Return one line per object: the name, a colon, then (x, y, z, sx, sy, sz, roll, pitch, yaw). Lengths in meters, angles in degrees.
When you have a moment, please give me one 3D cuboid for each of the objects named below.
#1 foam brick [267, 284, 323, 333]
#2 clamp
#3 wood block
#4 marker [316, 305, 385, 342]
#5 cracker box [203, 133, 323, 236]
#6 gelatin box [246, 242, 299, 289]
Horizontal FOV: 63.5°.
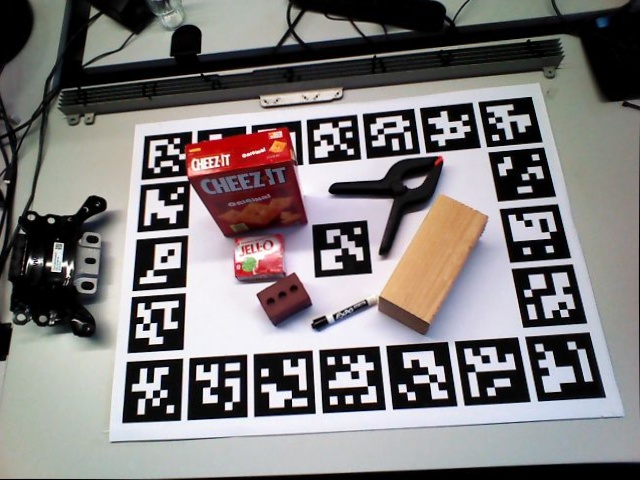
foam brick: (-0.042, 0.114, 0.869, 0.078, 0.051, 0.052, -28, 71, -4)
clamp: (0.164, -0.073, 0.921, 0.202, 0.037, 0.165, -33, 71, -5)
wood block: (0.206, 0.057, 0.845, 0.090, 0.091, 0.205, 29, 73, 18)
marker: (0.050, 0.140, 0.865, 0.121, 0.020, 0.019, -23, 71, -2)
cracker box: (-0.084, -0.084, 0.853, 0.164, 0.214, 0.071, -7, 68, 2)
gelatin box: (-0.084, 0.045, 0.913, 0.089, 0.030, 0.073, -5, 71, 5)
